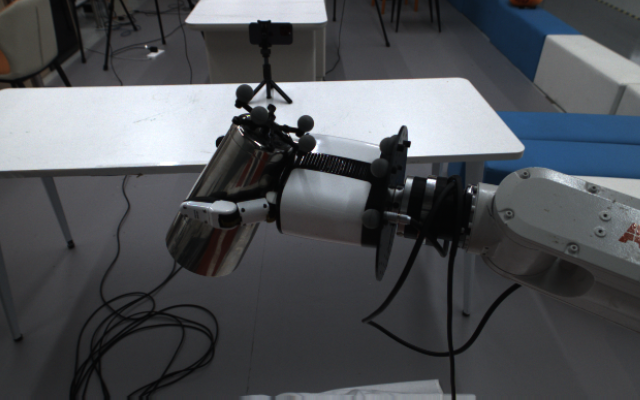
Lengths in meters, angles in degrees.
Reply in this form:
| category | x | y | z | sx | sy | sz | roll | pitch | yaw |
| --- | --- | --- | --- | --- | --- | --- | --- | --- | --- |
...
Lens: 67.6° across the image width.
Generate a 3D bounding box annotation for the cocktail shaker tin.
| category | x | y | z | sx | sy | sz | roll | pitch | yaw |
| --- | --- | --- | --- | --- | --- | --- | --- | --- | --- |
| cocktail shaker tin | -0.094 | -0.010 | 0.529 | 0.093 | 0.170 | 0.093 | 26 | 32 | -18 |
